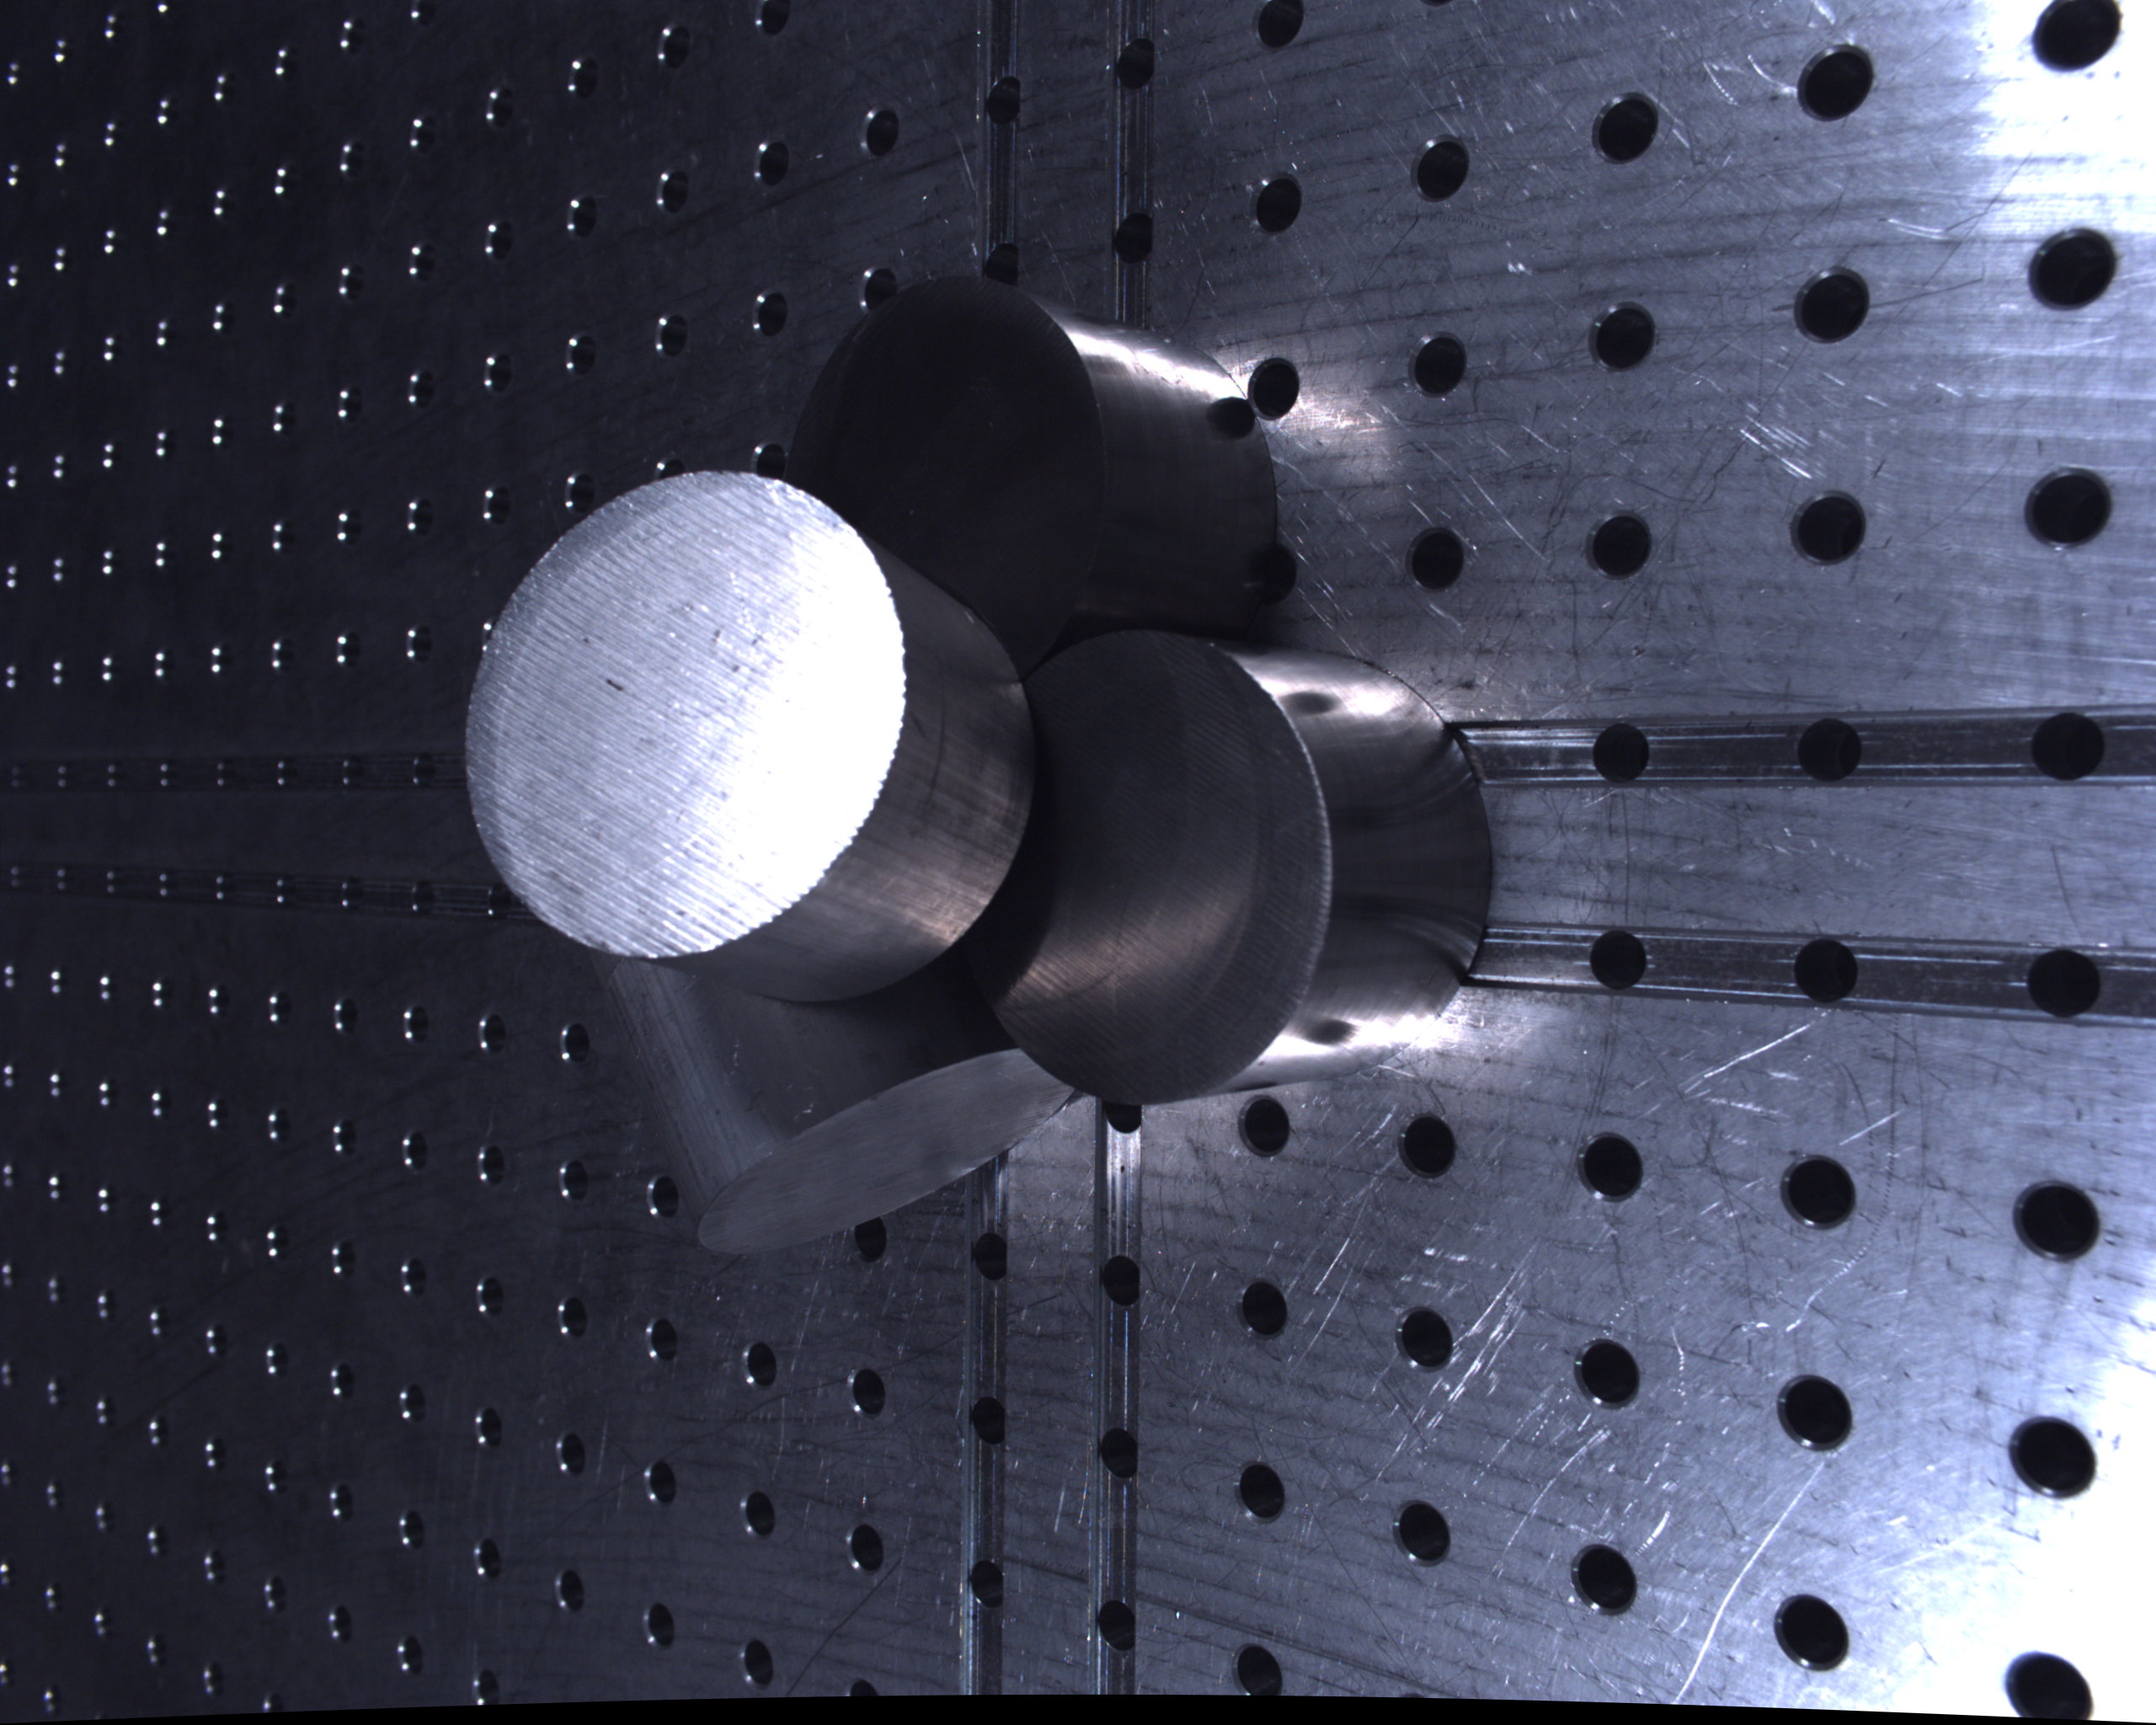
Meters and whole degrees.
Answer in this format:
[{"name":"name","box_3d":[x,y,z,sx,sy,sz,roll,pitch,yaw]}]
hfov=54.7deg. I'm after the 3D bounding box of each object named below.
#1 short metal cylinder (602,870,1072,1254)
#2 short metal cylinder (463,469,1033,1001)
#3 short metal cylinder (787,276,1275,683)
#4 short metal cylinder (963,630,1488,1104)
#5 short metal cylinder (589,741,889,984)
[{"name":"short metal cylinder","box_3d":[-0.046,0.035,0.409,0.080,0.081,0.050,-41,66,32]},{"name":"short metal cylinder","box_3d":[-0.055,-0.020,0.352,0.080,0.050,0.080,-5,77,21]},{"name":"short metal cylinder","box_3d":[-0.010,-0.066,0.398,0.080,0.050,0.079,0,90,39]},{"name":"short metal cylinder","box_3d":[0.025,0.001,0.370,0.080,0.050,0.079,0,90,39]},{"name":"short metal cylinder","box_3d":[-0.066,-0.007,0.426,0.080,0.081,0.050,-41,65,32]}]
